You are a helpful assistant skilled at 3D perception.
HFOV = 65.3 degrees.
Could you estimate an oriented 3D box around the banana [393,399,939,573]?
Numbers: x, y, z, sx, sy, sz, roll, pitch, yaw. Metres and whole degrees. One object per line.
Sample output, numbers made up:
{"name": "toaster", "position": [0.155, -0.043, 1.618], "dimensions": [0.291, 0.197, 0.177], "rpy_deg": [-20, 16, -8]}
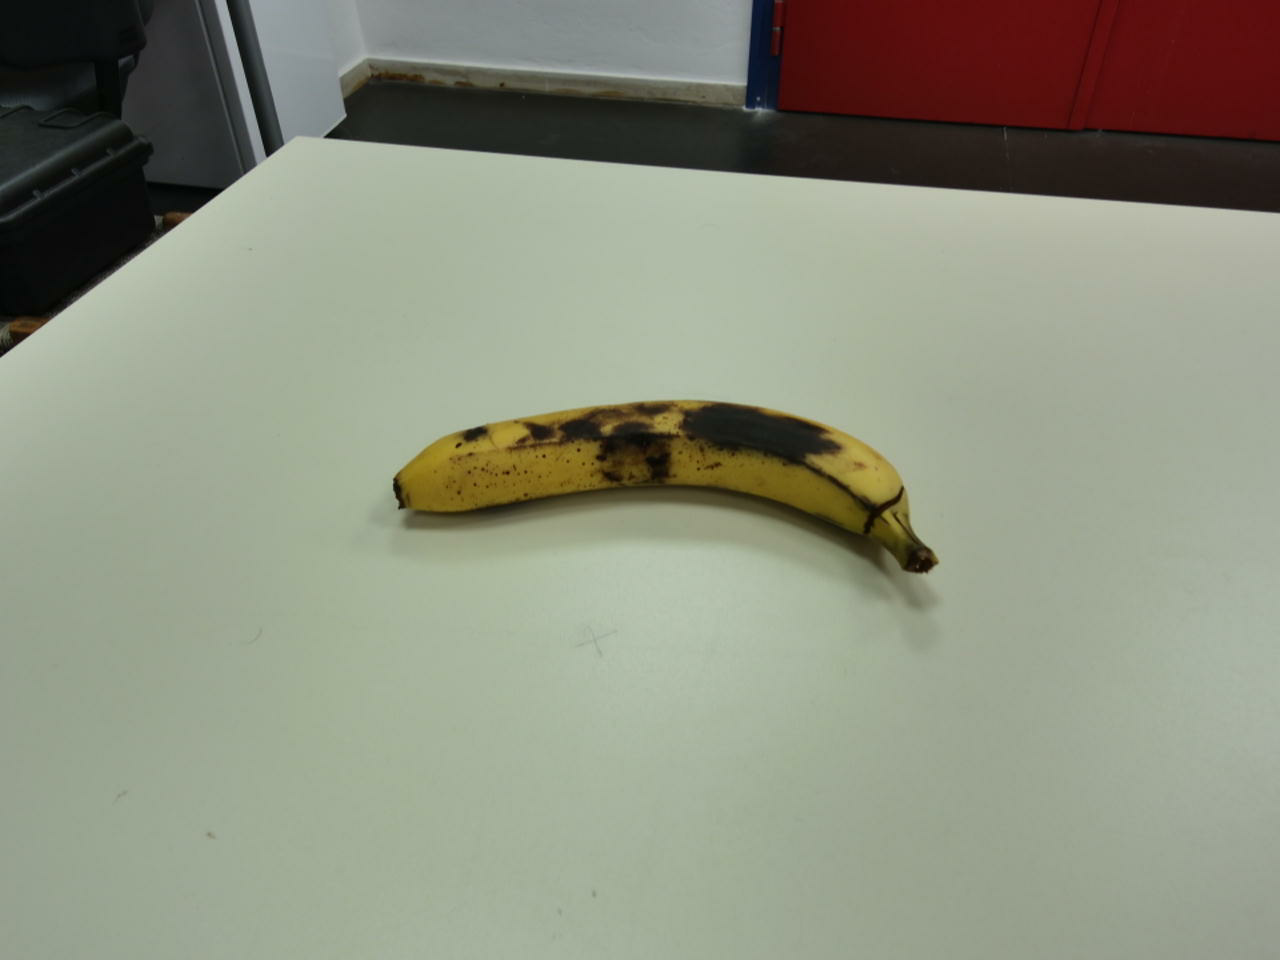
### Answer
{"name": "banana", "position": [0.012, -0.005, 0.426], "dimensions": [0.222, 0.037, 0.084], "rpy_deg": [8, 39, 11]}
